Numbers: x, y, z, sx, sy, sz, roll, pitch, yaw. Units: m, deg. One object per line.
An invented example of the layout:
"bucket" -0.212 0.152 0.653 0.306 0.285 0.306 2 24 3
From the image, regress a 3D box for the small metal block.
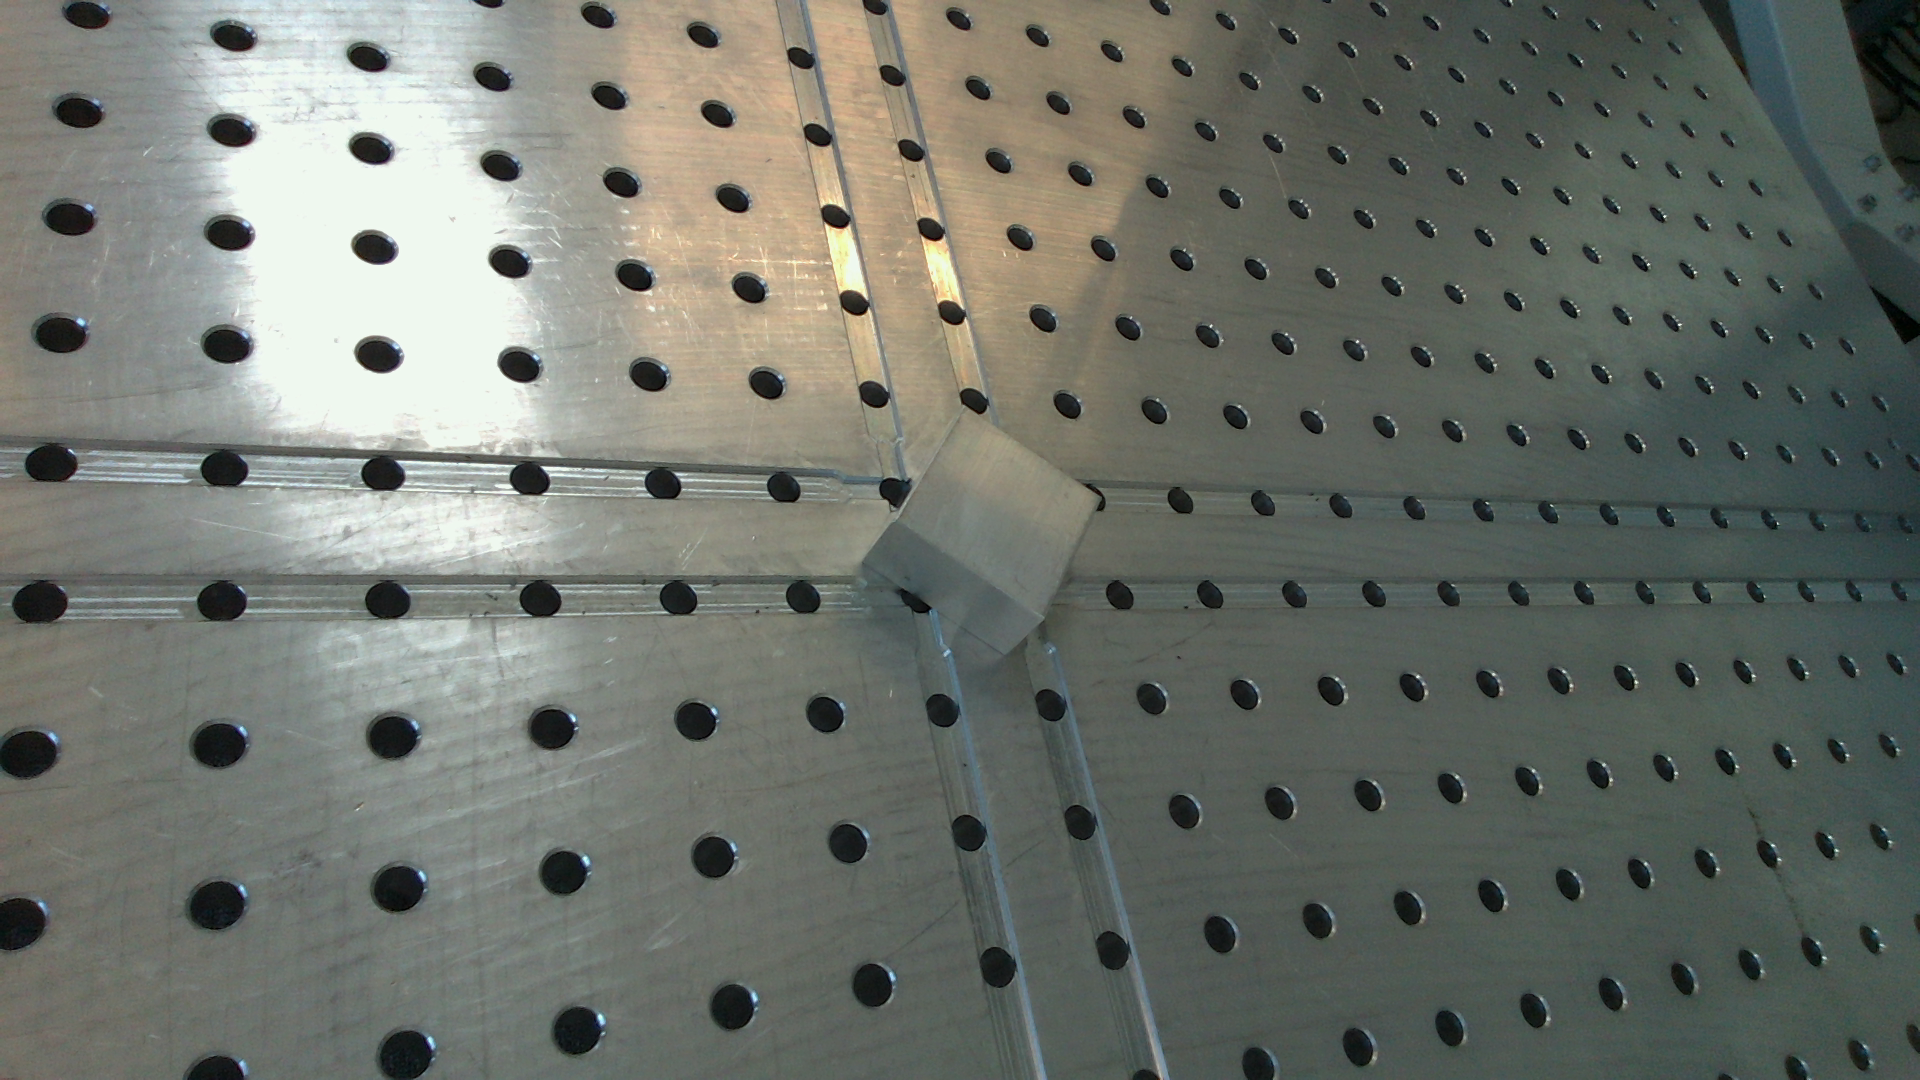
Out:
"small metal block" 0.006 -0.003 0.398 0.050 0.025 0.050 34 51 -7
